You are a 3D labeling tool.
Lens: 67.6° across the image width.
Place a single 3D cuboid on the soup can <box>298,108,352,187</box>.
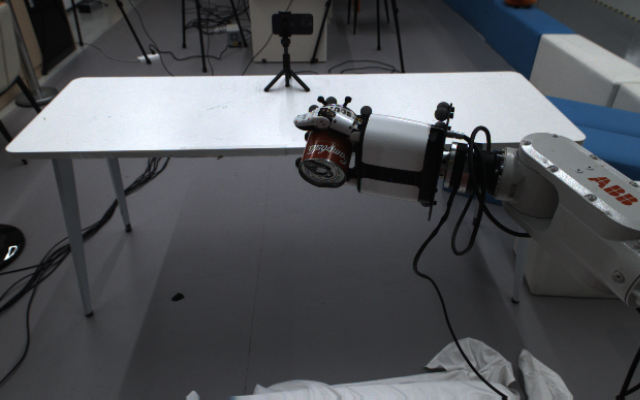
[{"bbox_3d":[0.014,-0.078,0.681,0.067,0.067,0.101,9,58,10],"label":"soup can"}]
